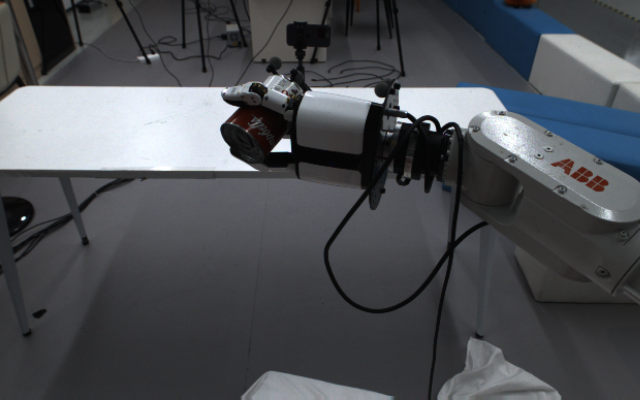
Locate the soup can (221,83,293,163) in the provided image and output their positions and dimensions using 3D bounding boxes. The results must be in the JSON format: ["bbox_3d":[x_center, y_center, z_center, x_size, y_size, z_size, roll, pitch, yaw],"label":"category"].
[{"bbox_3d":[-0.069,-0.106,0.623,0.067,0.067,0.101,22,61,26],"label":"soup can"}]
